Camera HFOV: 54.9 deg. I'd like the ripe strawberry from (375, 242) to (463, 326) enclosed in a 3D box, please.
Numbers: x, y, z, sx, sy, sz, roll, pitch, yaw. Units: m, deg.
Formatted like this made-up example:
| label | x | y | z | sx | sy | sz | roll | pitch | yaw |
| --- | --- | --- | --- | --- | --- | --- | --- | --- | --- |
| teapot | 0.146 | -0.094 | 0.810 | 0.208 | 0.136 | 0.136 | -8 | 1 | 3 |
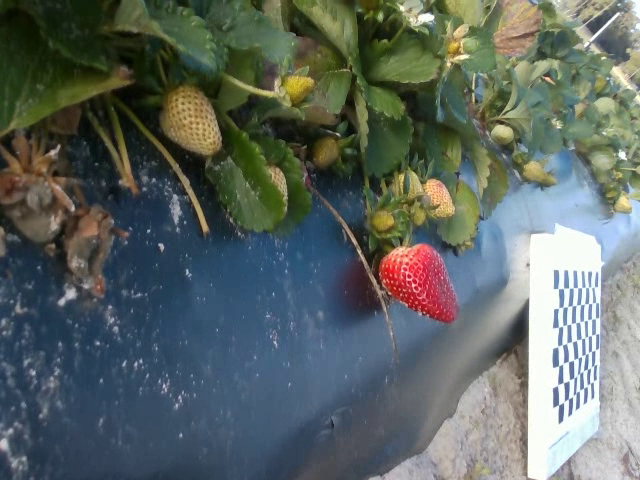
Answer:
| label | x | y | z | sx | sy | sz | roll | pitch | yaw |
| --- | --- | --- | --- | --- | --- | --- | --- | --- | --- |
| ripe strawberry | 0.078 | 0.032 | 0.438 | 0.044 | 0.067 | 0.052 | -49 | -25 | 25 |
